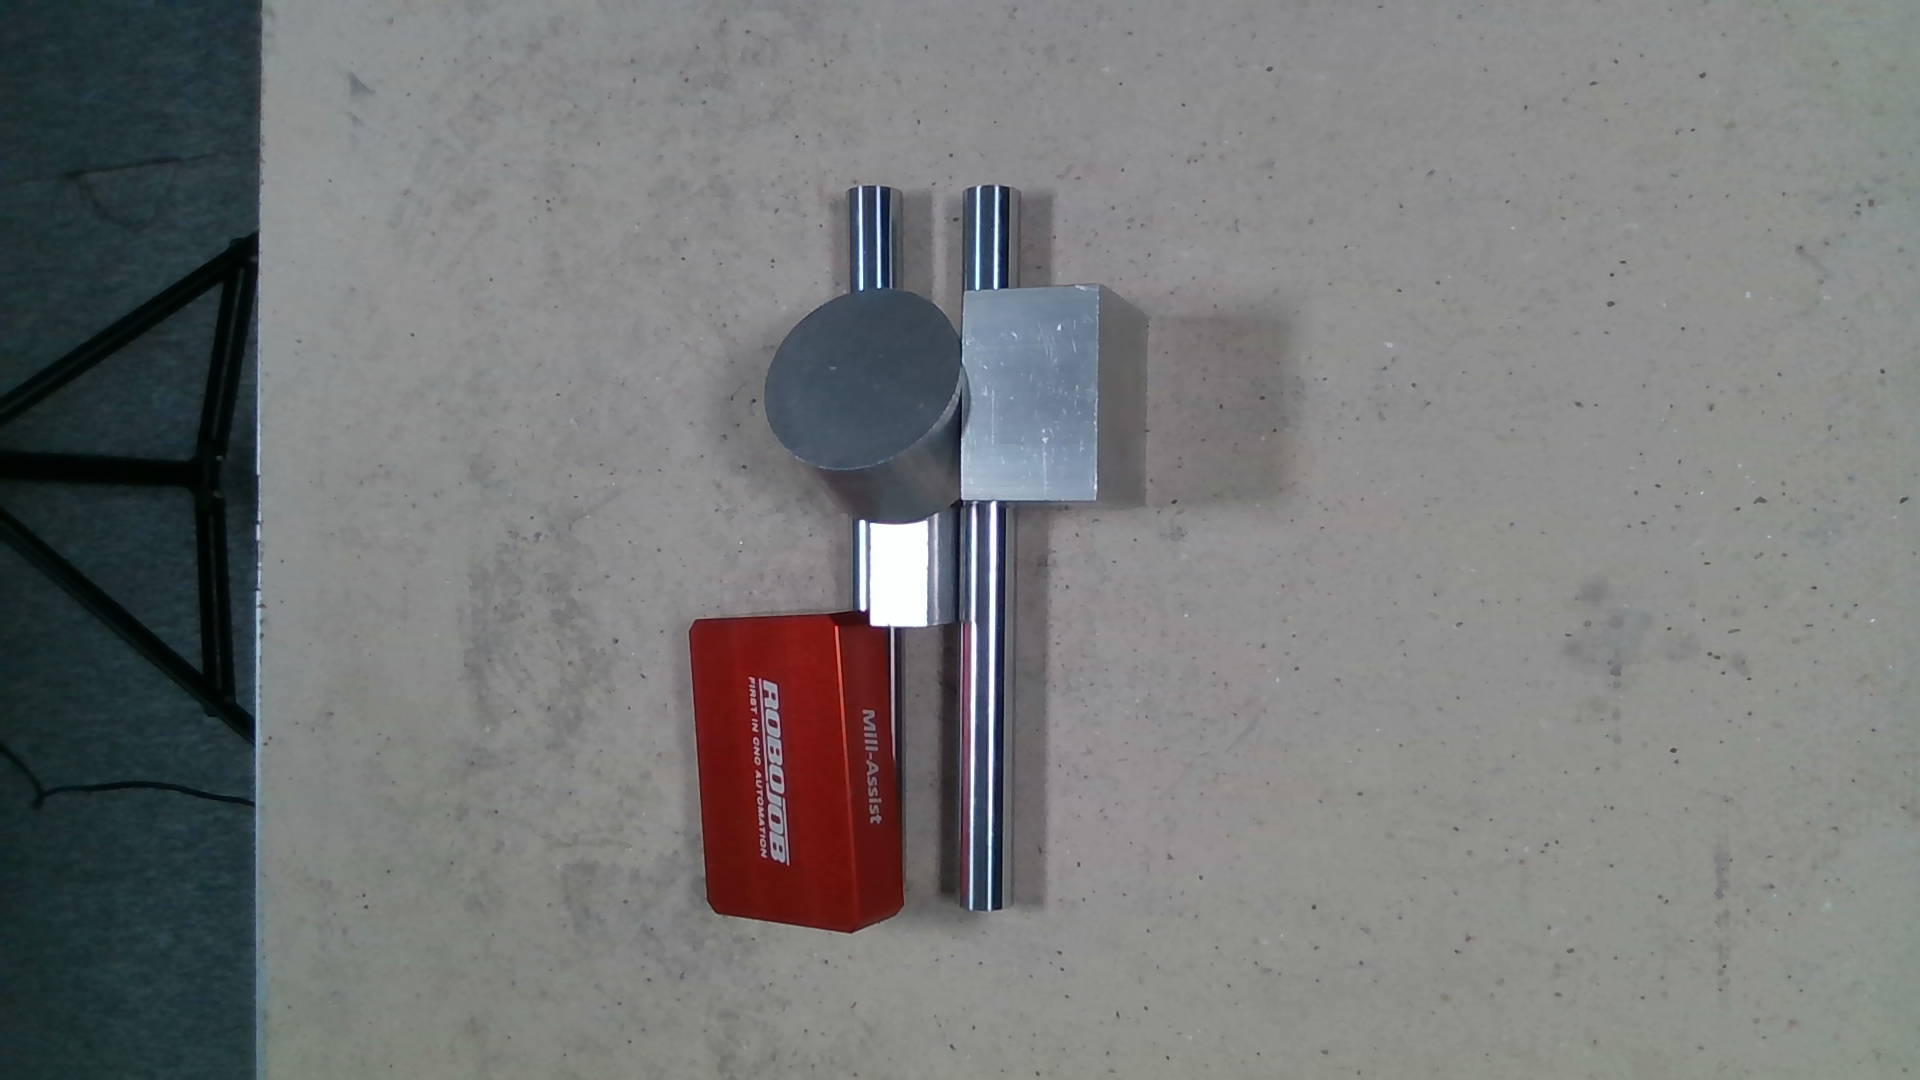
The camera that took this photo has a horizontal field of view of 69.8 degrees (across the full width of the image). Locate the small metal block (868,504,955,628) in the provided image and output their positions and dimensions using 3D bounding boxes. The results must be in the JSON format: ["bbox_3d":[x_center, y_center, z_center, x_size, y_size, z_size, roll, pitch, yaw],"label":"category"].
[{"bbox_3d":[-0.017,0.010,0.578,0.025,0.050,0.050,1,91,20],"label":"small metal block"}]

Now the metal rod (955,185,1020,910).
[{"bbox_3d":[0.011,0.004,0.582,0.025,0.025,0.300,1,91,20],"label":"metal rod"}]

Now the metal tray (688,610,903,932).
[{"bbox_3d":[-0.072,0.097,0.596,0.090,0.030,0.130,-4,90,38],"label":"metal tray"}]

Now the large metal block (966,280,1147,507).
[{"bbox_3d":[0.040,-0.054,0.542,0.050,0.080,0.080,1,91,20],"label":"large metal block"}]

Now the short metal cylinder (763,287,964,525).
[{"bbox_3d":[-0.031,-0.052,0.545,0.080,0.050,0.080,-7,64,15],"label":"short metal cylinder"}]

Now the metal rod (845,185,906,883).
[{"bbox_3d":[-0.037,-0.001,0.600,0.025,0.025,0.300,0,91,20],"label":"metal rod"}]
